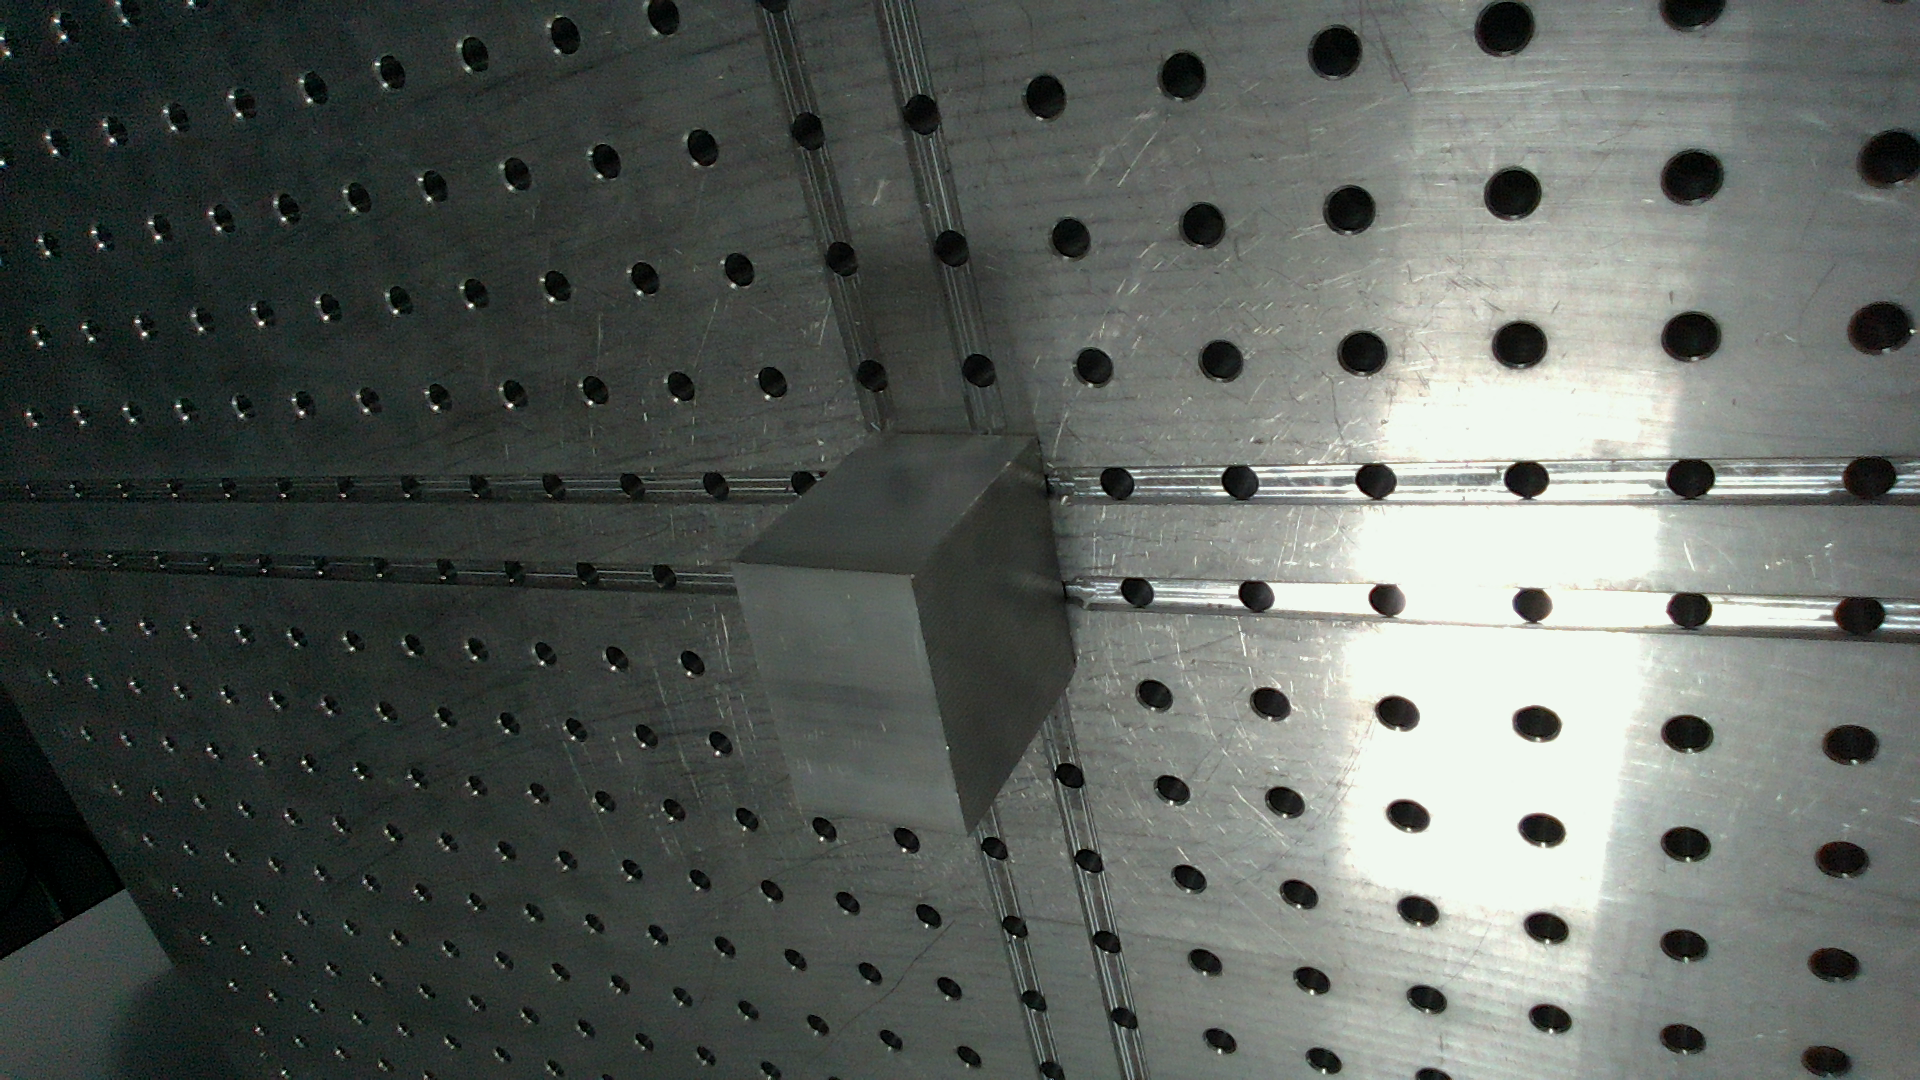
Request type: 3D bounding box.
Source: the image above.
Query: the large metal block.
[{"bbox_3d":[-0.011,0.023,0.380,0.050,0.080,0.080,3,120,27],"label":"large metal block"}]
